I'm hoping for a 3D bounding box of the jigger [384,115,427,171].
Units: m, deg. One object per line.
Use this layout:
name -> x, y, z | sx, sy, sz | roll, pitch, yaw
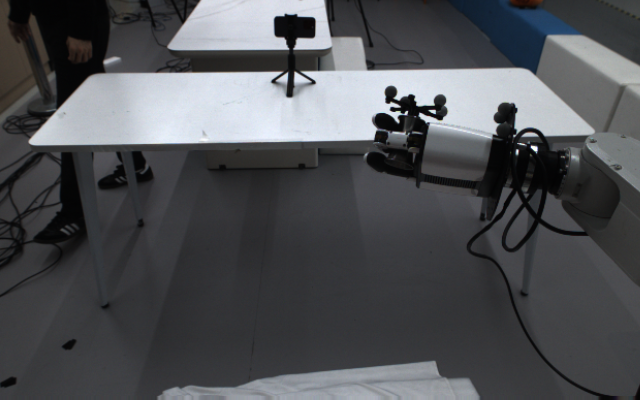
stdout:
jigger -> 0.123, -0.082, 0.685 | 0.043, 0.071, 0.043 | 16, -7, 2
